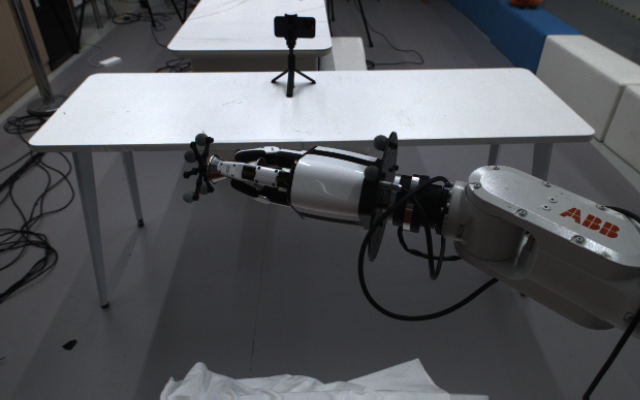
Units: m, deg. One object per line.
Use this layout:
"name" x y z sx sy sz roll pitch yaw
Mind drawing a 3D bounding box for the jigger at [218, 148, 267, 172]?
"jigger" -0.105 -0.041 0.635 0.071 0.043 0.043 6 35 14
